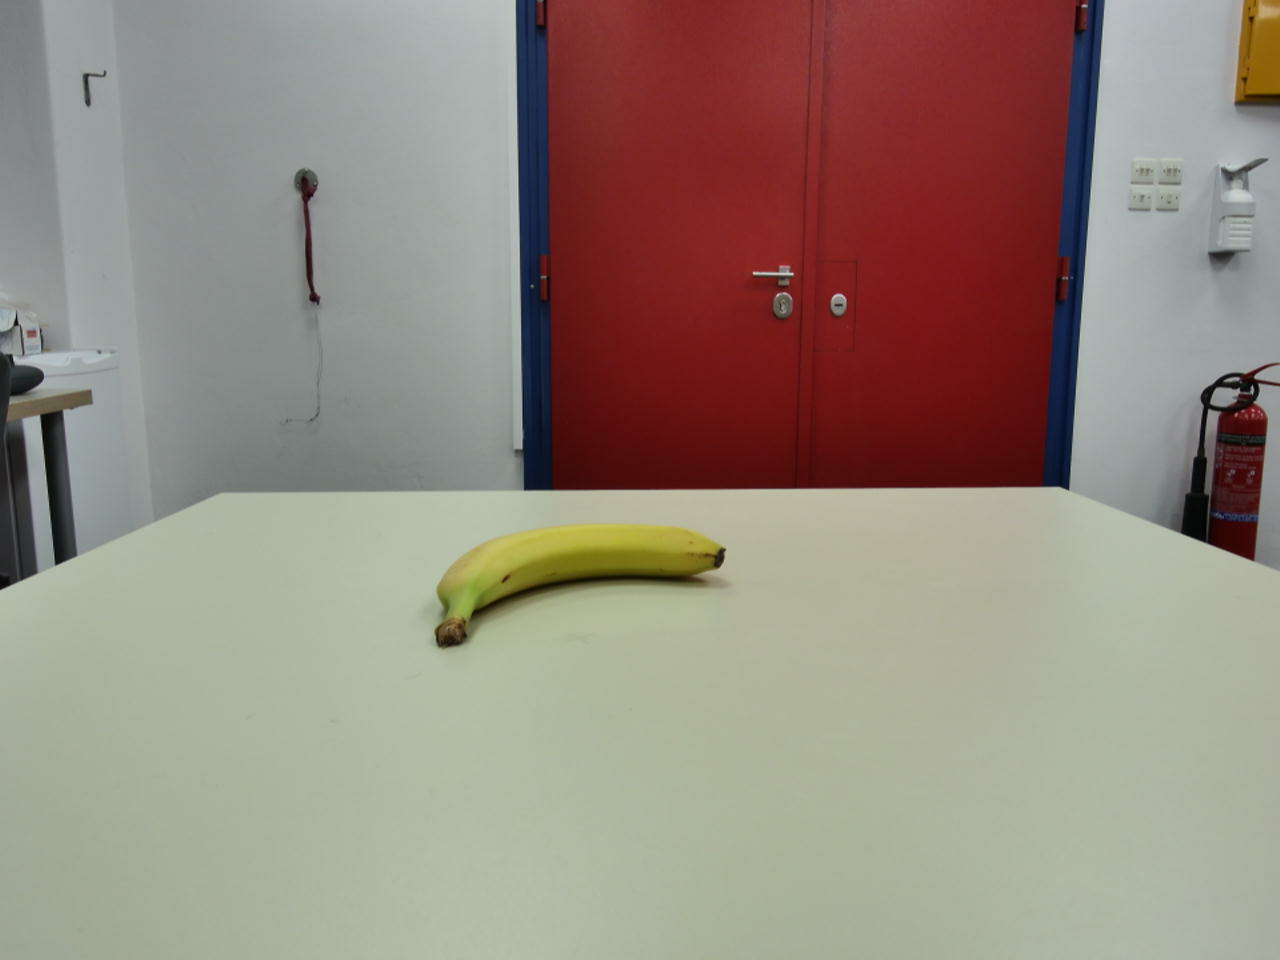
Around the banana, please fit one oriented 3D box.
[{"bbox_3d":[-0.049,0.053,0.596,0.196,0.041,0.094,-6,9,-36],"label":"banana"}]
